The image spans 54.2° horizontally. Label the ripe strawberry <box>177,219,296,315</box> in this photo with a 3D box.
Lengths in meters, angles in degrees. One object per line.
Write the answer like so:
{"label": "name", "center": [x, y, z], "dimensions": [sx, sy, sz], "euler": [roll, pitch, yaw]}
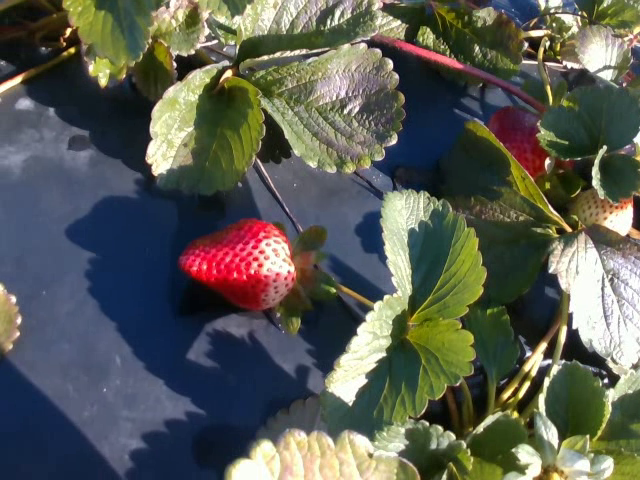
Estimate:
{"label": "ripe strawberry", "center": [-0.031, 0.010, 0.236], "dimensions": [0.055, 0.042, 0.044], "euler": [3, 5, -26]}
